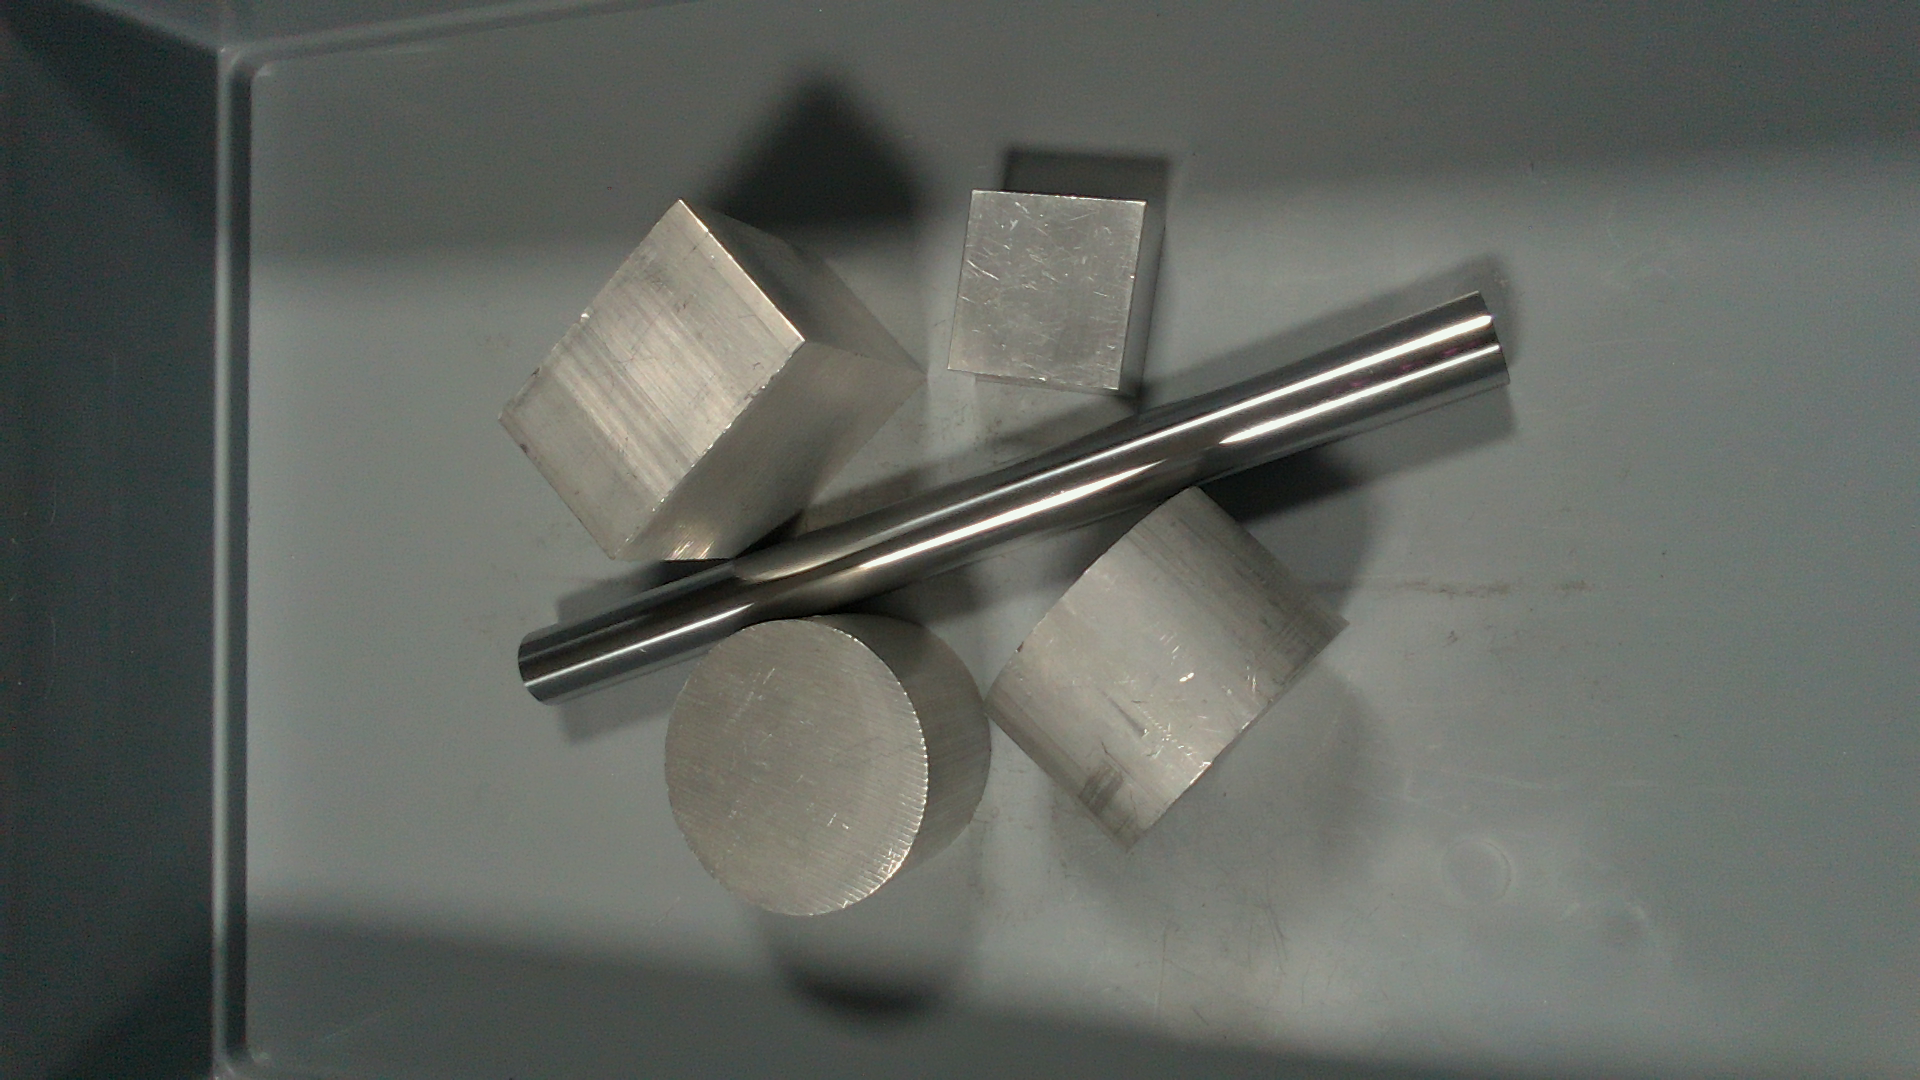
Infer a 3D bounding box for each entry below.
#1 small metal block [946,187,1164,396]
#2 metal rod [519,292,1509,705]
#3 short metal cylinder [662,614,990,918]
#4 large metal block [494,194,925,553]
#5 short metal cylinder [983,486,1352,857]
[{"bbox_3d":[0.027,-0.069,0.385,0.050,0.025,0.050,9,93,20],"label":"small metal block"},{"bbox_3d":[0.000,-0.005,0.395,0.299,0.025,0.025,-19,84,19],"label":"metal rod"},{"bbox_3d":[-0.037,0.062,0.394,0.080,0.050,0.080,0,90,20],"label":"short metal cylinder"},{"bbox_3d":[-0.068,-0.042,0.391,0.080,0.080,0.050,-45,76,14],"label":"large metal block"},{"bbox_3d":[0.052,0.033,0.347,0.050,0.080,0.080,44,104,15],"label":"short metal cylinder"}]
